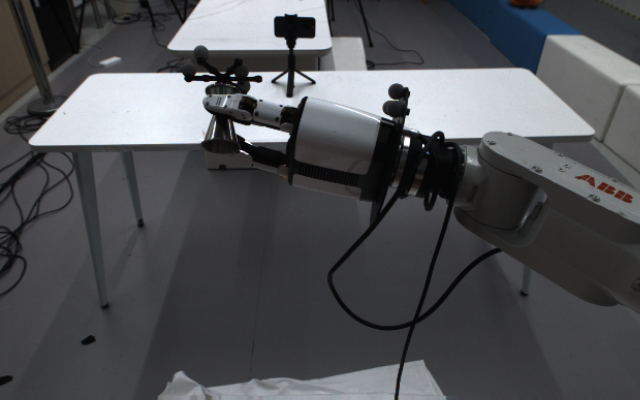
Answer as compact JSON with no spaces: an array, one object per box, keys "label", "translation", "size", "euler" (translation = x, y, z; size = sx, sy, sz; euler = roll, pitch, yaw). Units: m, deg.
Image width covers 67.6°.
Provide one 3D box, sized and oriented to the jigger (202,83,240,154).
[{"label":"jigger","translation":[-0.110,-0.092,0.546],"size":[0.043,0.043,0.071],"euler":[0,75,-3]}]
